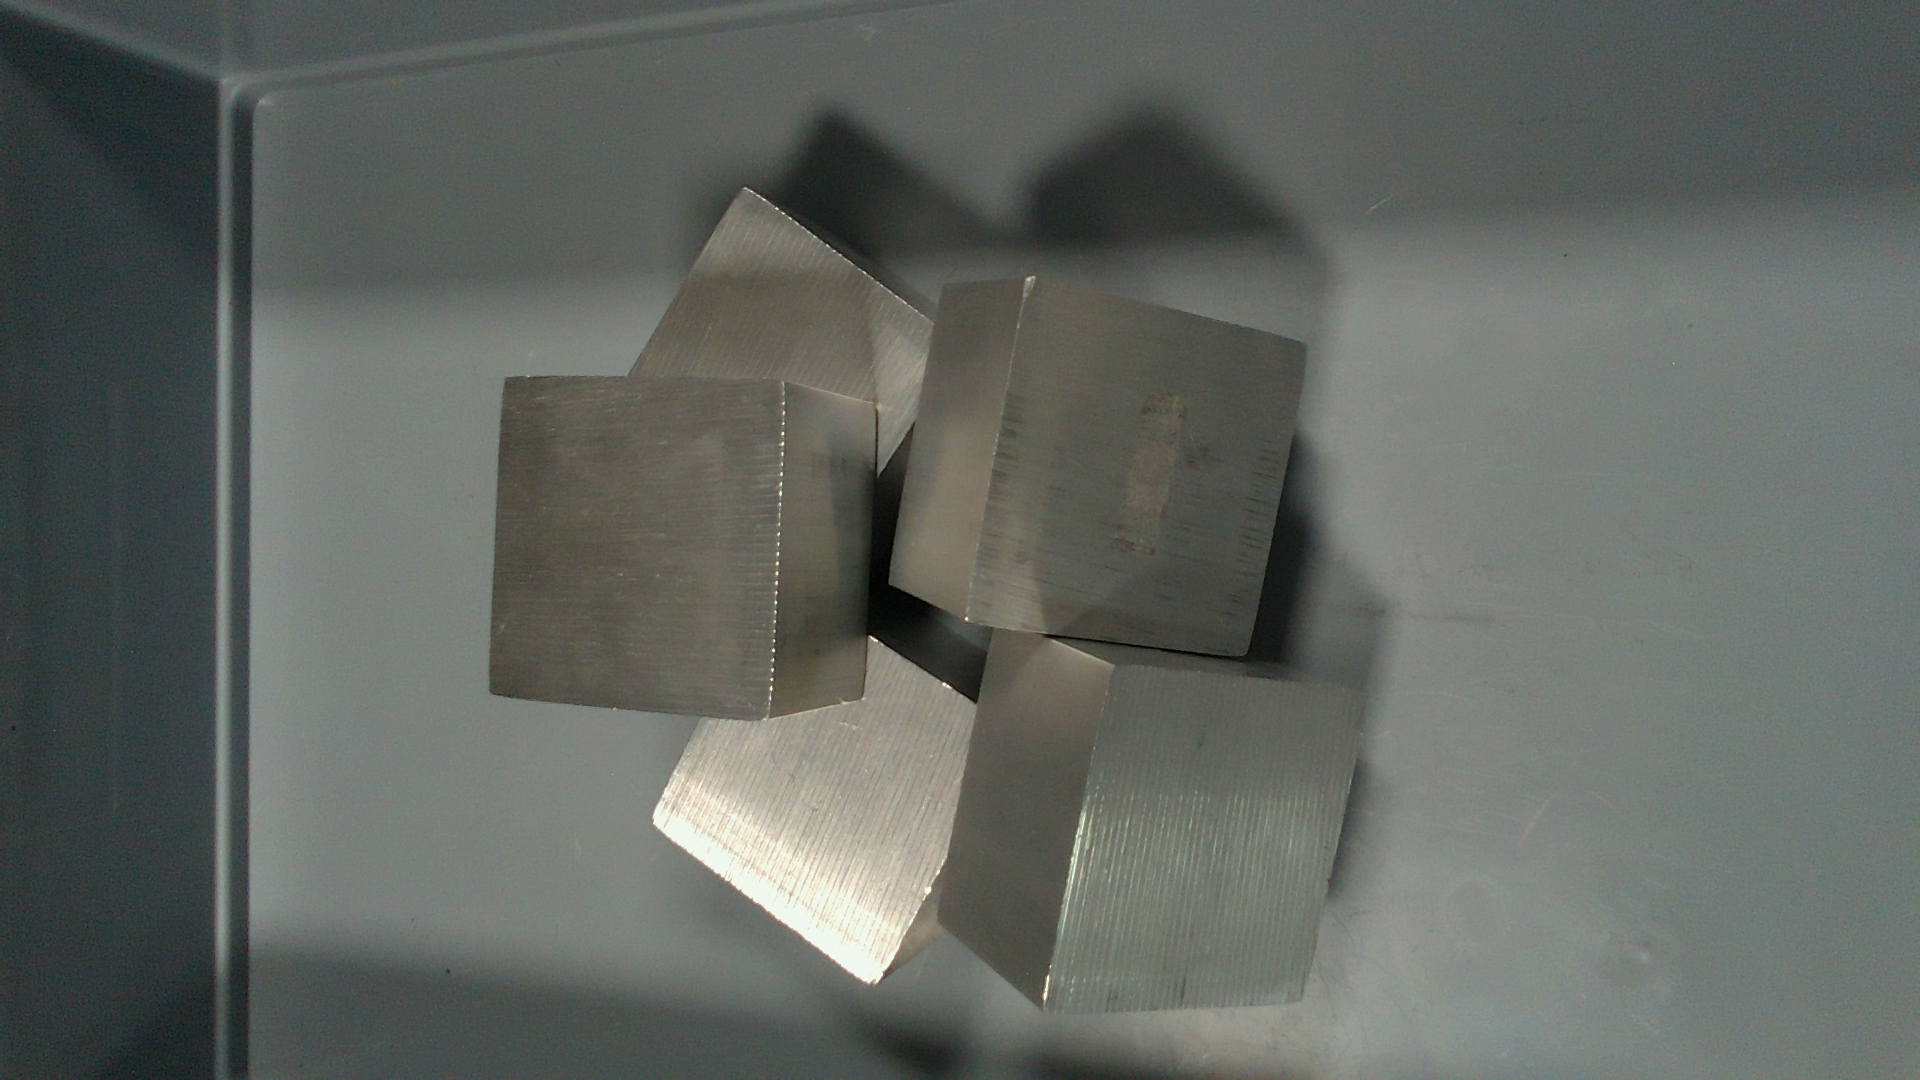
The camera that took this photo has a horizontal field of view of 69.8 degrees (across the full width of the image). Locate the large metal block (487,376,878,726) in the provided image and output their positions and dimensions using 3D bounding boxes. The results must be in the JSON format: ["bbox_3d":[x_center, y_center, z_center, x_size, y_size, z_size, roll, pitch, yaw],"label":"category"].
[{"bbox_3d":[-0.070,0.001,0.352,0.080,0.050,0.080,3,90,21],"label":"large metal block"}]

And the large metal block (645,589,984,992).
[{"bbox_3d":[-0.028,0.064,0.389,0.080,0.050,0.080,31,100,17],"label":"large metal block"}]

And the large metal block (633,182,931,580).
[{"bbox_3d":[-0.042,-0.042,0.397,0.080,0.050,0.080,38,102,16],"label":"large metal block"}]

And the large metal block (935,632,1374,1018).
[{"bbox_3d":[0.048,0.067,0.341,0.050,0.080,0.080,18,98,59],"label":"large metal block"}]

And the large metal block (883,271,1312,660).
[{"bbox_3d":[0.033,-0.018,0.347,0.080,0.050,0.080,9,94,-25],"label":"large metal block"}]
